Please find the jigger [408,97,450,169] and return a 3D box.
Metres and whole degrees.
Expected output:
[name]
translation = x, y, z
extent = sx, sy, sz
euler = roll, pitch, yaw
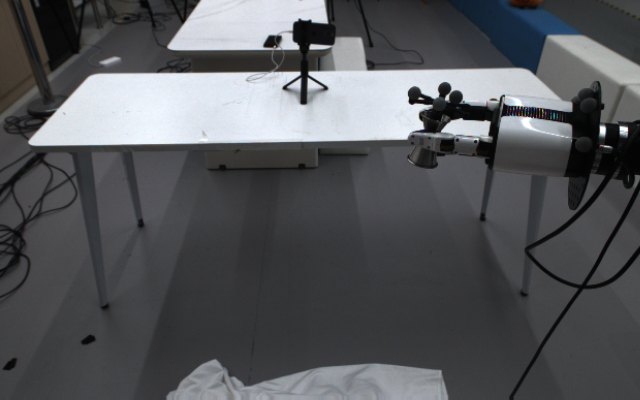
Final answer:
[jigger]
translation = 0.147, -0.083, 0.660
extent = 0.043, 0.071, 0.043
euler = 9, 30, -5
